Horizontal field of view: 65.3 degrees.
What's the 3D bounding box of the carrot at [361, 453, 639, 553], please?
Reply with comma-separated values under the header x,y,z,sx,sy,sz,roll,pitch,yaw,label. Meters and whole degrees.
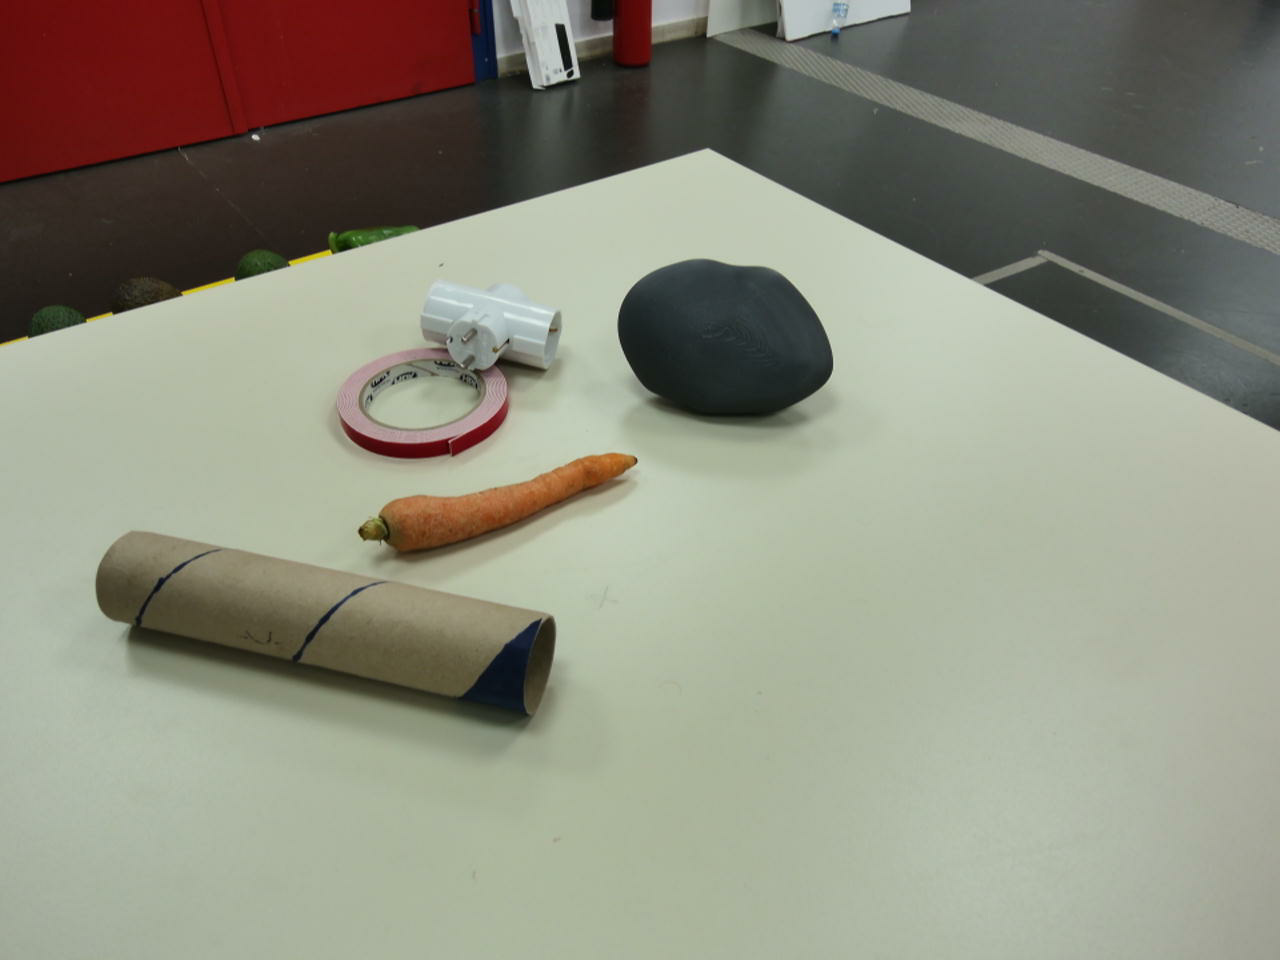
x,y,z,sx,sy,sz,roll,pitch,yaw,label
-0.074,0.009,0.571,0.173,0.032,0.030,-18,42,-22,carrot
